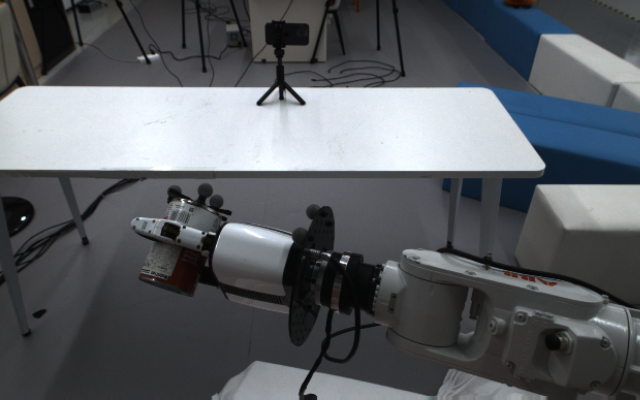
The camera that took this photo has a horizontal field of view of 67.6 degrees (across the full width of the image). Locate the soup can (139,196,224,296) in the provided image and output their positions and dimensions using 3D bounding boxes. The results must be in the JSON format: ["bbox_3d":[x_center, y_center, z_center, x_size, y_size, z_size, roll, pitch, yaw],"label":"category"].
[{"bbox_3d":[-0.166,0.057,0.580,0.067,0.067,0.101,12,71,14],"label":"soup can"}]
